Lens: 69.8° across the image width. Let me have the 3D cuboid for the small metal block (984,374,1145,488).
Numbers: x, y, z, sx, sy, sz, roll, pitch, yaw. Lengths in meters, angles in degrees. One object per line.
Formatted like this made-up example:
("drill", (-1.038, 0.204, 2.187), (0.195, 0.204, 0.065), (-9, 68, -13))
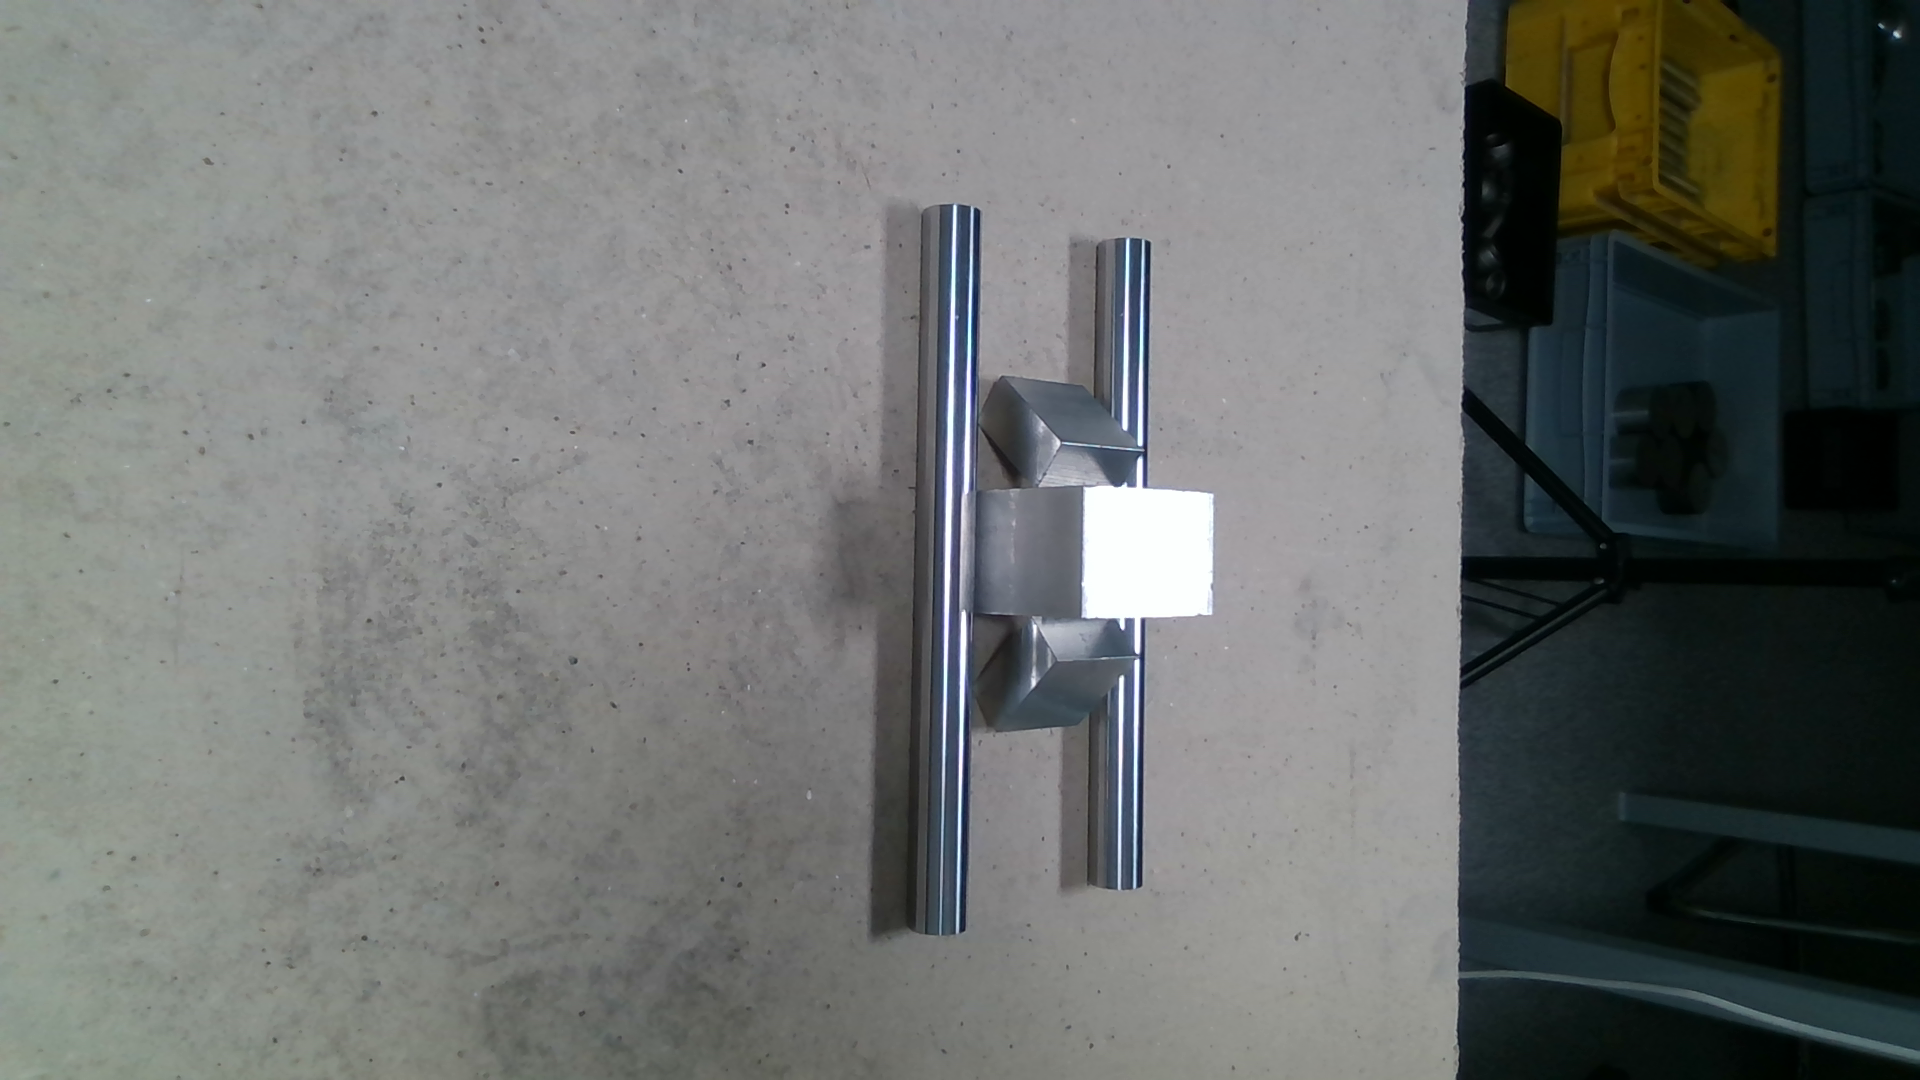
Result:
("small metal block", (0.044, -0.046, 0.602), (0.050, 0.050, 0.025), (1, 128, -40))

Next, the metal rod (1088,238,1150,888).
("metal rod", (0.075, 0.010, 0.646), (0.025, 0.025, 0.300), (1, 89, -40))

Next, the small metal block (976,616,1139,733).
("small metal block", (0.041, 0.057, 0.600), (0.050, 0.050, 0.025), (1, 48, -41))

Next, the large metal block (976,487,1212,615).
("large metal block", (0.051, 0.005, 0.593), (0.080, 0.080, 0.050), (1, 89, -40))

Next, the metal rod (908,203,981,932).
("metal rod", (-0.006, 0.011, 0.578), (0.025, 0.025, 0.300), (2, 89, -40))
